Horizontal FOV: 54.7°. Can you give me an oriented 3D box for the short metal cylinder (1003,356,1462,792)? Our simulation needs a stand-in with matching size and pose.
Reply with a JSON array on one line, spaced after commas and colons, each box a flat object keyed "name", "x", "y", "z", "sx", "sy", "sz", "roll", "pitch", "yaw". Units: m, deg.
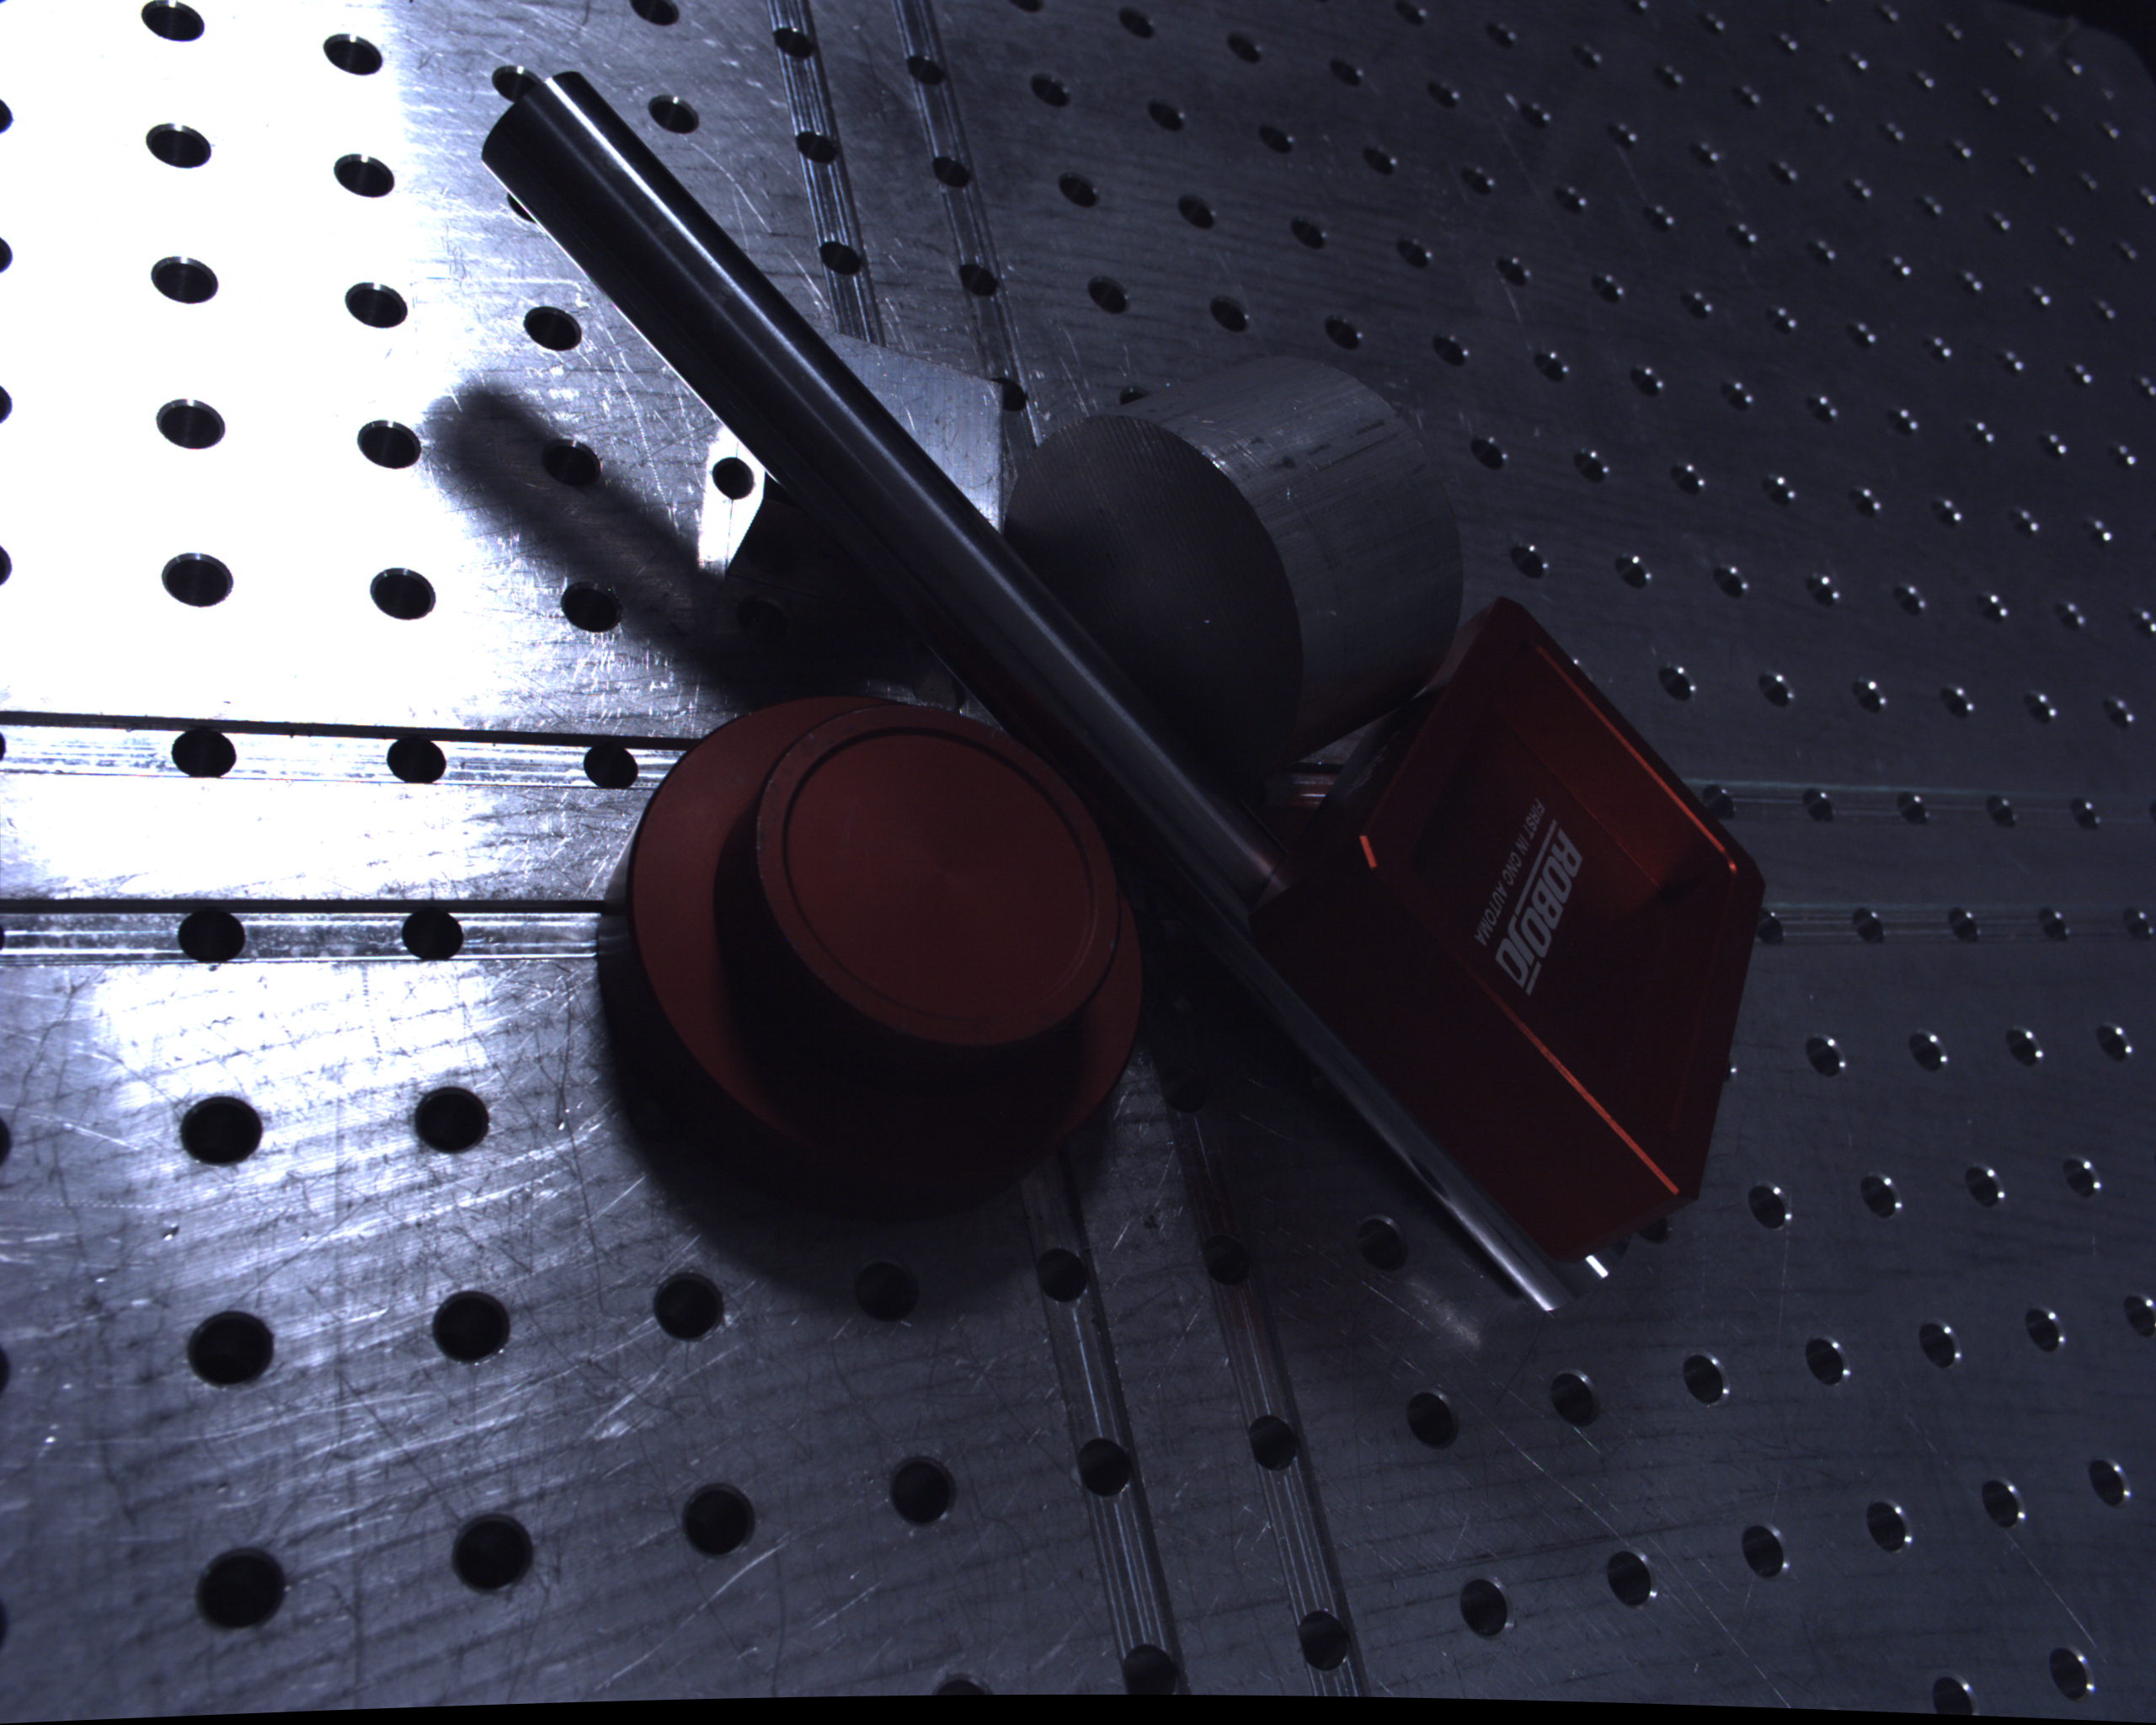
[{"name": "short metal cylinder", "x": 0.030, "y": -0.058, "z": 0.426, "sx": 0.050, "sy": 0.080, "sz": 0.080, "roll": -28, "pitch": 78, "yaw": -38}]

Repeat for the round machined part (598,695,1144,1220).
[{"name": "round machined part", "x": -0.032, "y": 0.011, "z": 0.374, "sx": 0.099, "sy": 0.042, "sz": 0.098, "roll": 14, "pitch": 56, "yaw": -21}]

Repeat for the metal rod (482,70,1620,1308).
[{"name": "metal rod", "x": -0.001, "y": -0.030, "z": 0.405, "sx": 0.300, "sy": 0.025, "sz": 0.025, "roll": 48, "pitch": 51, "yaw": -5}]

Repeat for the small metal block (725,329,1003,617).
[{"name": "small metal block", "x": -0.044, "y": -0.080, "z": 0.435, "sx": 0.050, "sy": 0.025, "sz": 0.050, "roll": 13, "pitch": 56, "yaw": -22}]

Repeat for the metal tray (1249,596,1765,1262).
[{"name": "metal tray", "x": 0.093, "y": 0.008, "z": 0.425, "sx": 0.090, "sy": 0.030, "sz": 0.131, "roll": 46, "pitch": 35, "yaw": -6}]
